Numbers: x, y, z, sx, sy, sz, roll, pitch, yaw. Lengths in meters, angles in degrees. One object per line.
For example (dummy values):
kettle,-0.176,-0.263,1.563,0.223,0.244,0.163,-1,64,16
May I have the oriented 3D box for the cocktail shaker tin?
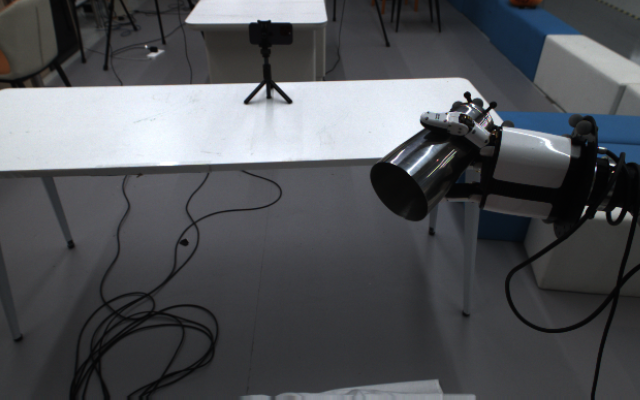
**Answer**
cocktail shaker tin,0.157,-0.063,0.644,0.170,0.093,0.093,-38,50,-24
